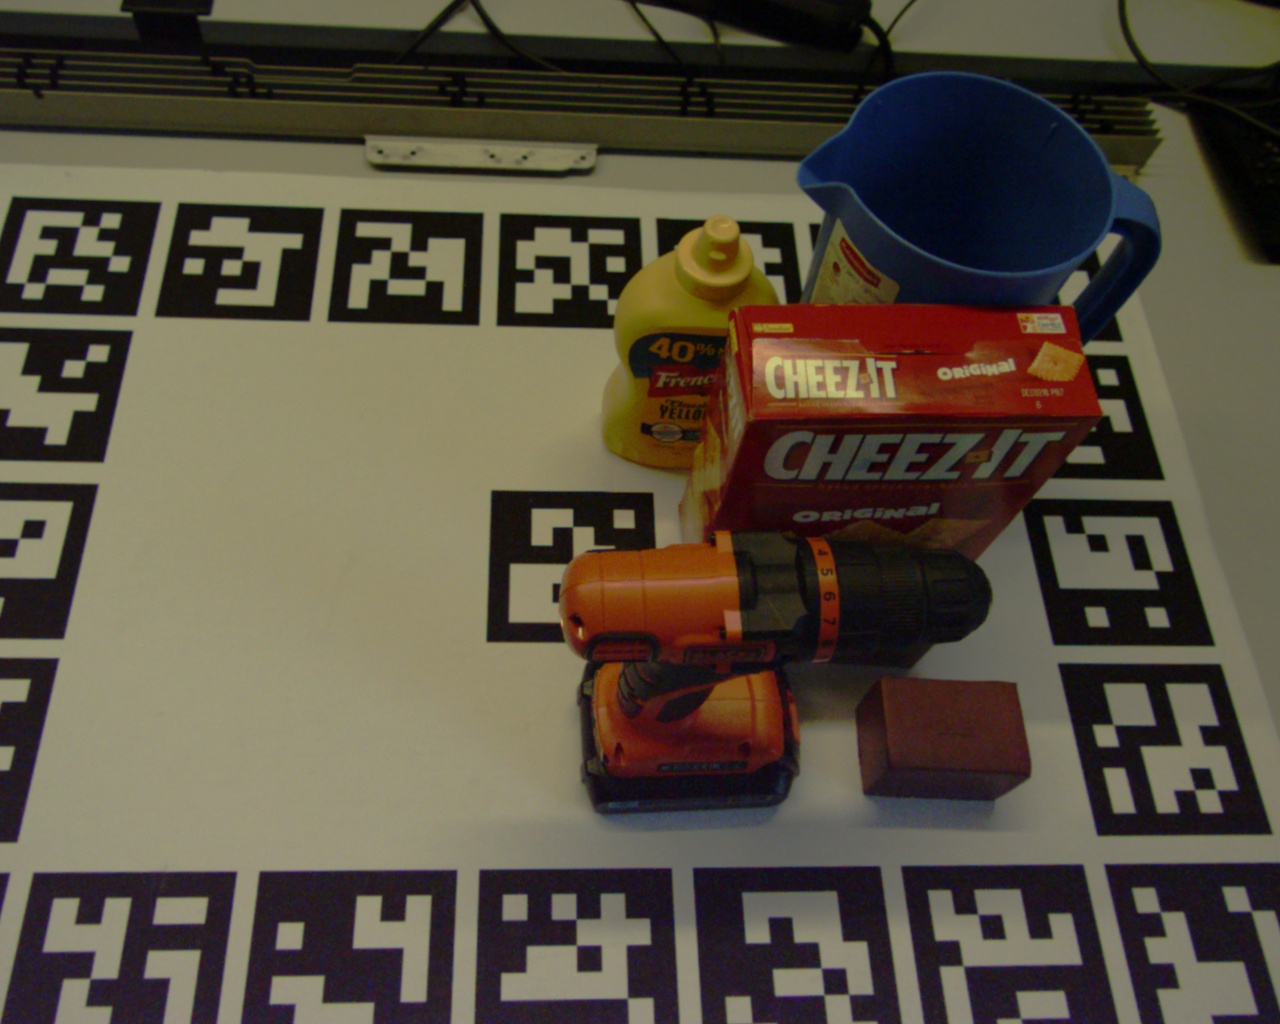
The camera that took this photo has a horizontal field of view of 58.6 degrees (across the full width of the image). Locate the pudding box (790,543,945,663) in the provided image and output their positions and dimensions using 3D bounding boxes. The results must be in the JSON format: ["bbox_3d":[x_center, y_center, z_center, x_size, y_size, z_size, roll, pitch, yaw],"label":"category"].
[{"bbox_3d":[0.111,0.053,0.657,0.114,0.090,0.039,1,61,-2],"label":"pudding box"}]

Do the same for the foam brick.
[{"bbox_3d":[0.166,0.126,0.660,0.078,0.051,0.053,3,64,-4],"label":"foam brick"}]

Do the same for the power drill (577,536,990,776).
[{"bbox_3d":[0.057,0.075,0.563,0.184,0.187,0.057,0,59,-6],"label":"power drill"}]

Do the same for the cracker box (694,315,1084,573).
[{"bbox_3d":[0.122,-0.015,0.632,0.164,0.213,0.072,-1,61,-4],"label":"cracker box"}]

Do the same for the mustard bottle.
[{"bbox_3d":[0.033,-0.104,0.679,0.096,0.191,0.058,13,63,1],"label":"mustard bottle"}]

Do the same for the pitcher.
[{"bbox_3d":[0.166,-0.107,0.678,0.189,0.242,0.133,6,62,0],"label":"pitcher"}]
